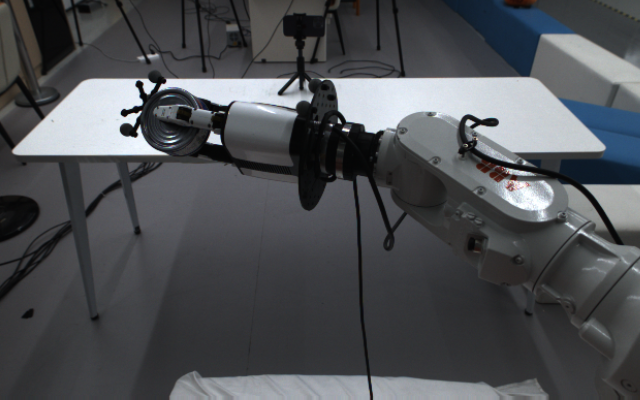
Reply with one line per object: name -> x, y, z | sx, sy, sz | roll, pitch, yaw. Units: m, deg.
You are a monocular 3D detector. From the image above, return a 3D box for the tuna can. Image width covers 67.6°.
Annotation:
tuna can -> -0.187, -0.101, 0.630 | 0.085, 0.085, 0.034 | 10, -3, 11
